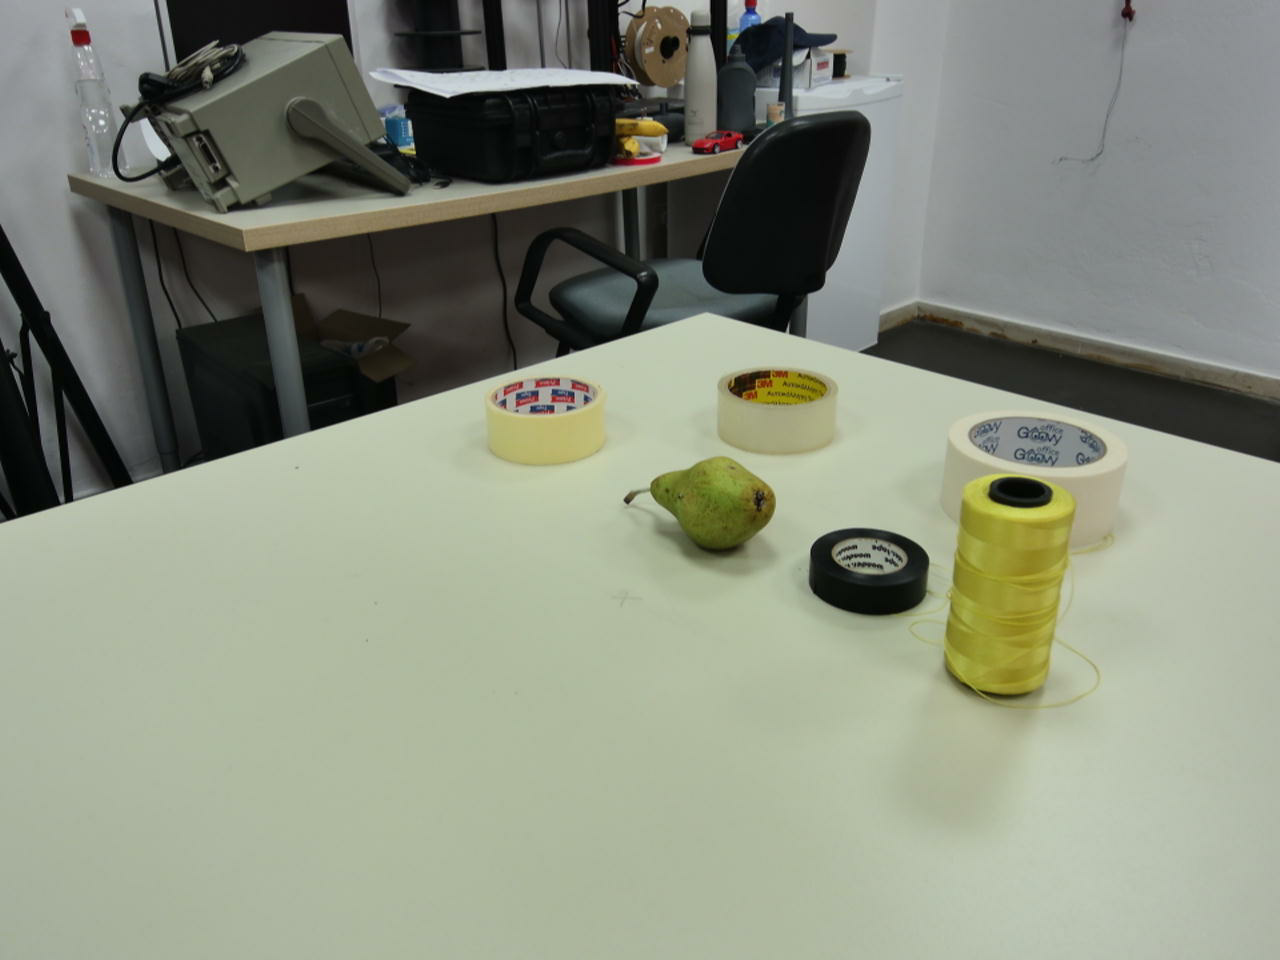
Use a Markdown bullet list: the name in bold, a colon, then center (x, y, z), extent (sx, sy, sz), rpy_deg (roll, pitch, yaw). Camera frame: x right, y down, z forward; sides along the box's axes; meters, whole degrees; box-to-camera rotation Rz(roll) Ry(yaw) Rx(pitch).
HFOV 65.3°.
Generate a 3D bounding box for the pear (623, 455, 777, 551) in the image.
- **pear**: center (0.041, 0.008, 0.629), extent (0.056, 0.056, 0.111), rpy_deg (-11, 27, -24)
